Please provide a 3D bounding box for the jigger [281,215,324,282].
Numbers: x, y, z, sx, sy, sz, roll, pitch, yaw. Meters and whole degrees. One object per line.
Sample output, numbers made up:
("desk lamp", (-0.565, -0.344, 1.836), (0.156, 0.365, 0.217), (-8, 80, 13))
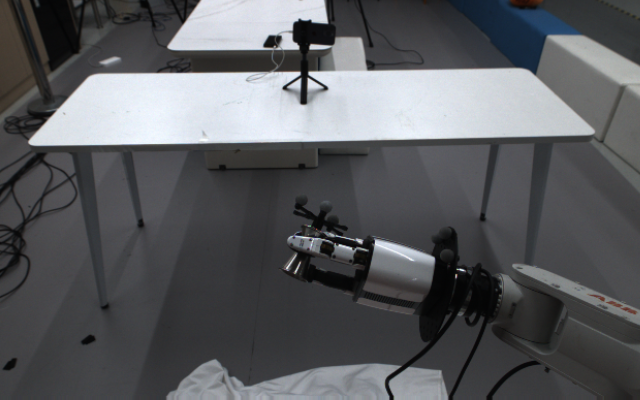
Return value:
("jigger", (-0.023, 0.070, 0.655), (0.043, 0.043, 0.071), (20, 72, 23))
